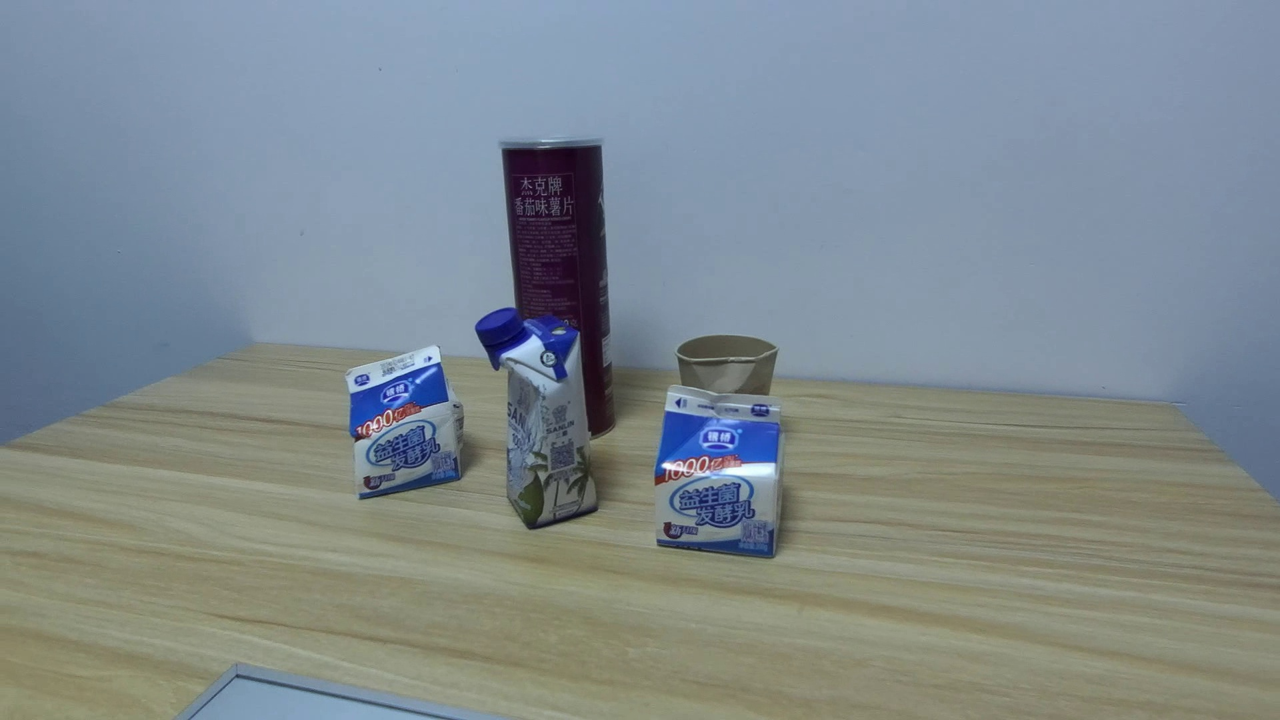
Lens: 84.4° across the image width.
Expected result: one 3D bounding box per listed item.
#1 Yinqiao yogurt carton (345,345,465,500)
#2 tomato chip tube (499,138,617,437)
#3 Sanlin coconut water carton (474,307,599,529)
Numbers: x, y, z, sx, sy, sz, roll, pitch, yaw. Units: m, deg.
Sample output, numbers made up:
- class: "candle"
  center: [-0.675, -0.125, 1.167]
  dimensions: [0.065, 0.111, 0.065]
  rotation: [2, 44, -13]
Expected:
- class: "Yinqiao yogurt carton"
  center: [-0.176, 0.038, 0.527]
  dimensions: [0.083, 0.093, 0.077]
  rotation: [-10, 22, -19]
- class: "tomato chip tube"
  center: [-0.063, -0.053, 0.567]
  dimensions: [0.078, 0.234, 0.078]
  rotation: [-2, 17, 1]
- class: "Sanlin coconut water carton"
  center: [-0.066, 0.034, 0.463]
  dimensions: [0.058, 0.142, 0.077]
  rotation: [-16, 23, -22]
